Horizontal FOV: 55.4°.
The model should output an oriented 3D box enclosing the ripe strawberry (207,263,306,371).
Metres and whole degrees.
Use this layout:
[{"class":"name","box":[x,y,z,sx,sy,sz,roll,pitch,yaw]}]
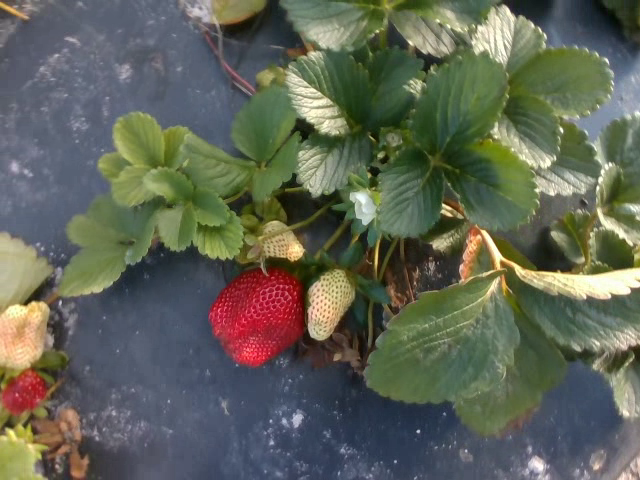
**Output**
[{"class":"ripe strawberry","box":[-0.039,0.049,0.365,0.057,0.058,0.071,14,30,39]}]
